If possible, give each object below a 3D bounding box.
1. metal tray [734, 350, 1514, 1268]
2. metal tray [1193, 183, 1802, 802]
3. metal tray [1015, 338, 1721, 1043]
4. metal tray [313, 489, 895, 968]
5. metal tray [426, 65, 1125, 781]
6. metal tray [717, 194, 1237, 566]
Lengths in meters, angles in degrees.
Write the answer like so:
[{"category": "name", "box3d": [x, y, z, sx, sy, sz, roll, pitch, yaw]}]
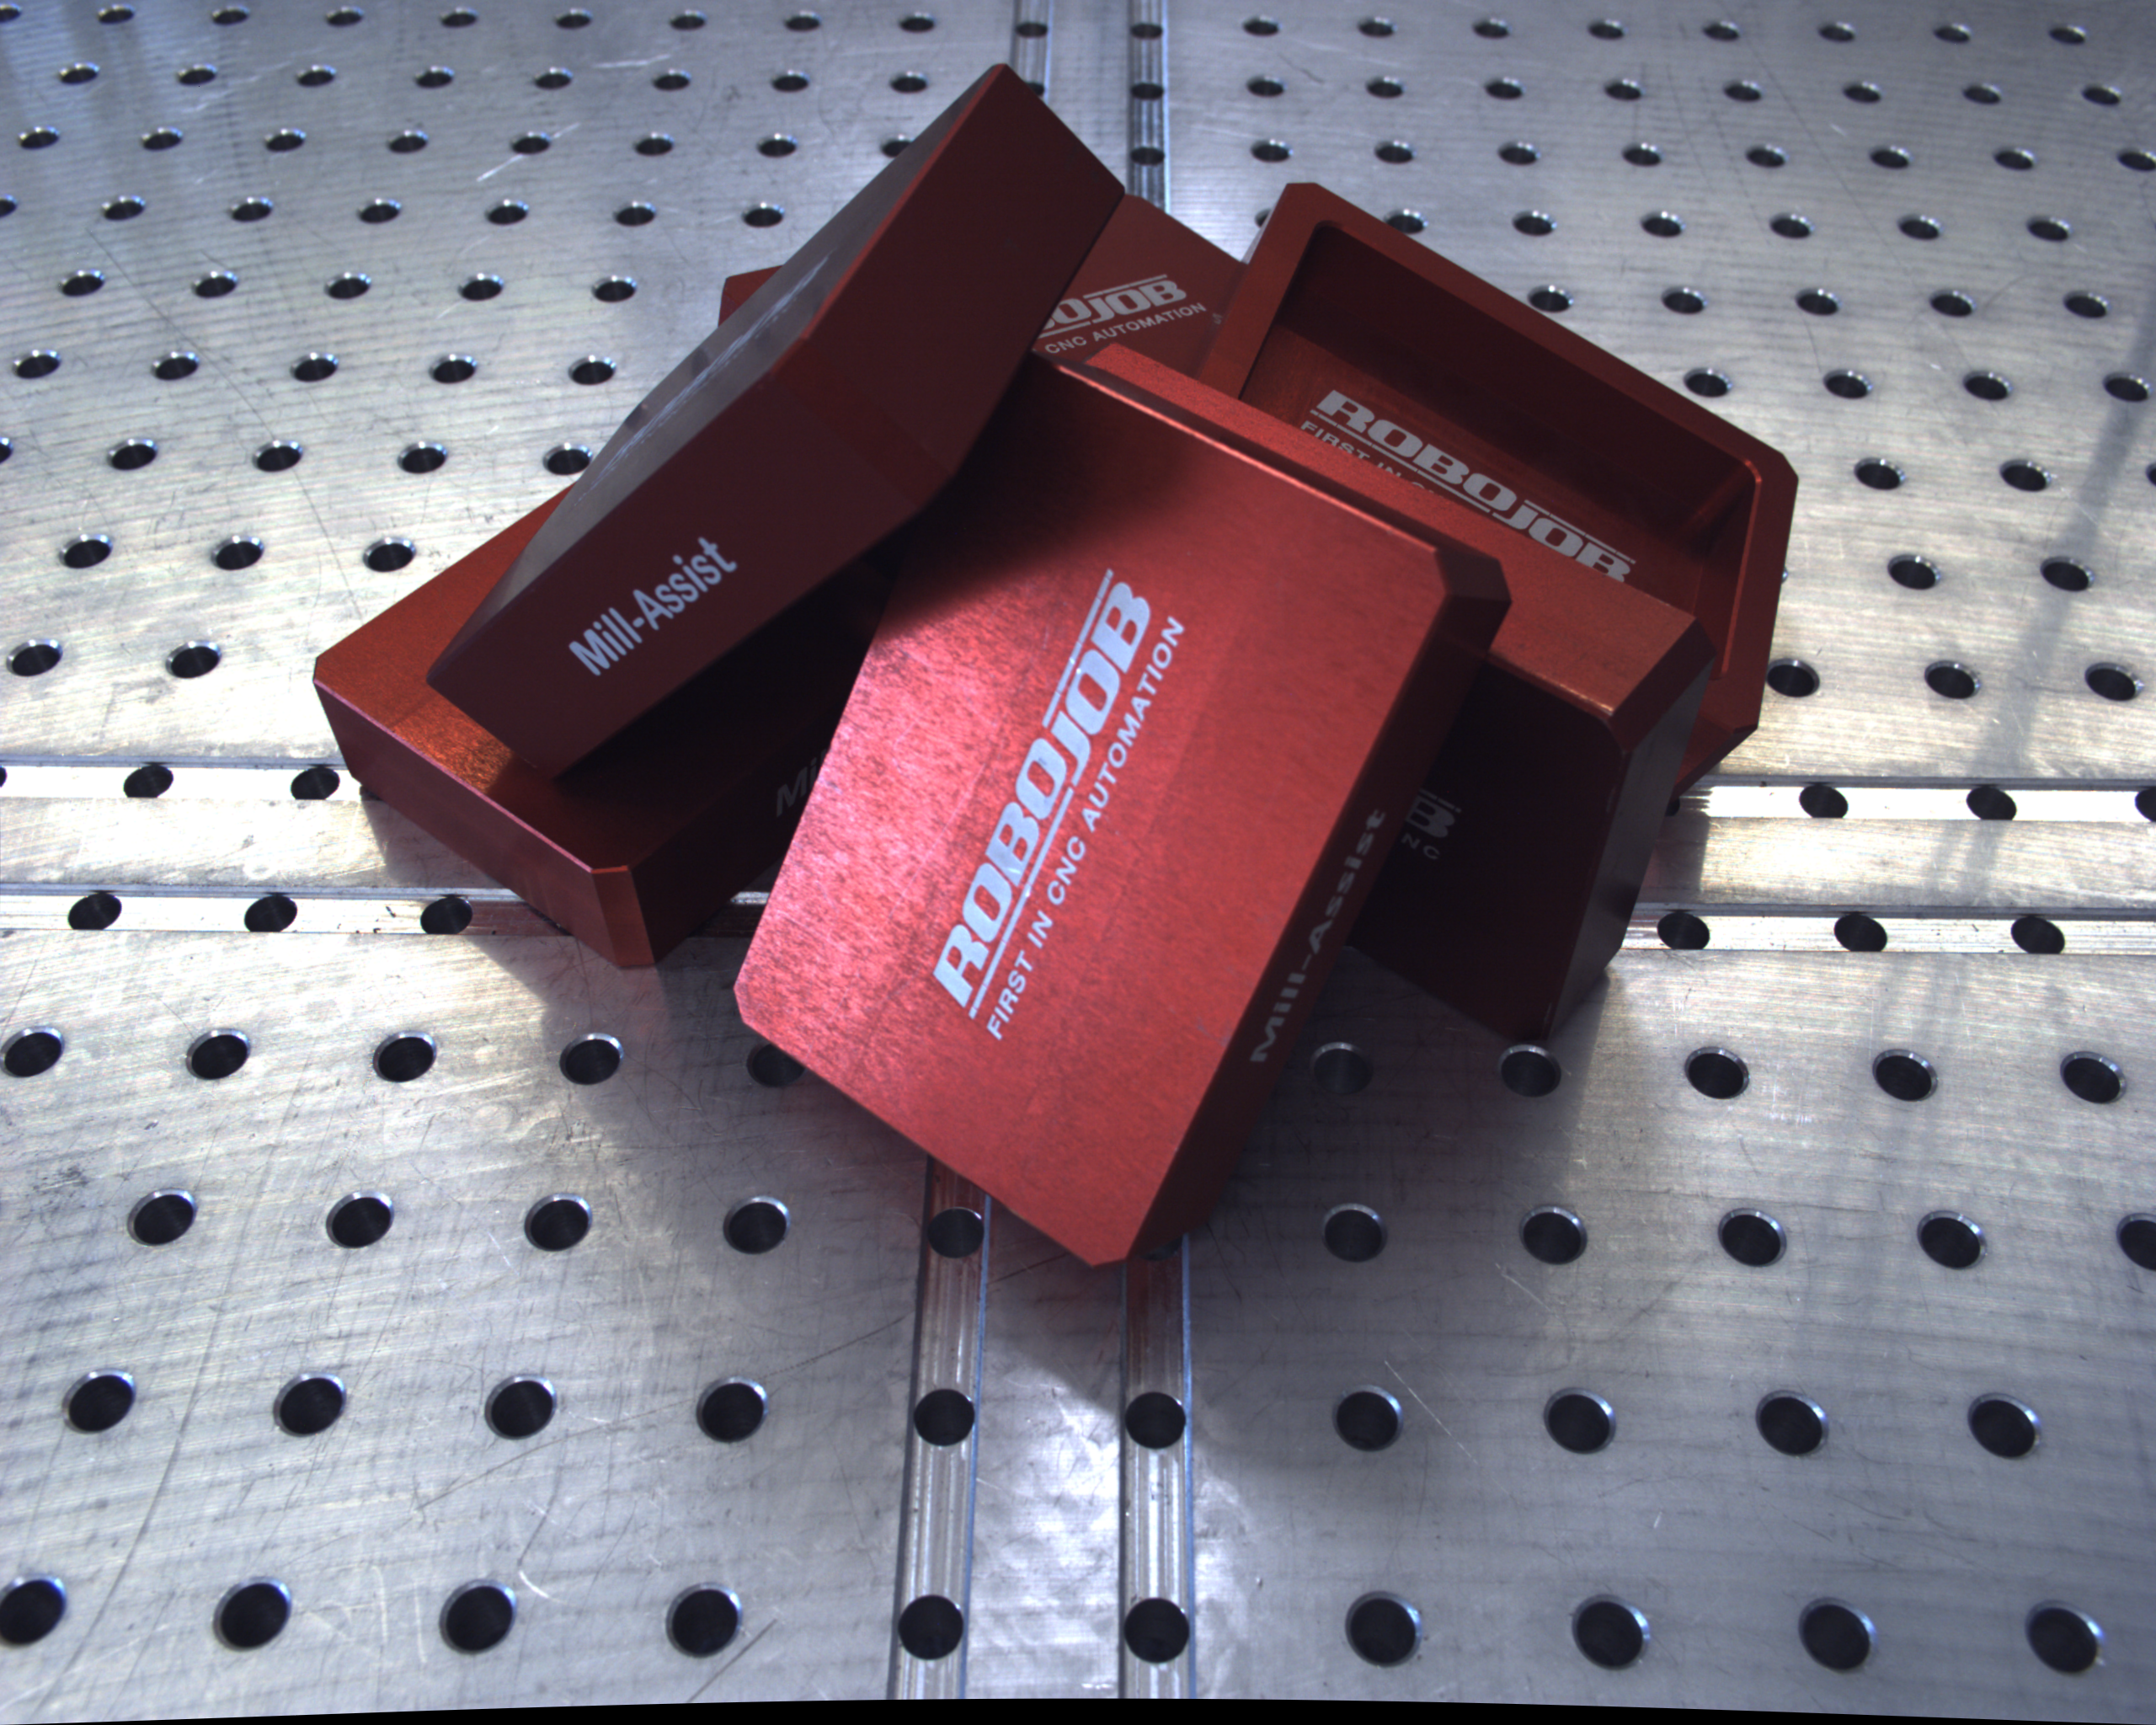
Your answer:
[{"category": "metal tray", "box3d": [0.004, -0.010, 0.354, 0.090, 0.129, 0.030, 31, 18, 24]}, {"category": "metal tray", "box3d": [0.084, -0.079, 0.440, 0.130, 0.030, 0.090, 28, 52, -6]}, {"category": "metal tray", "box3d": [0.045, -0.032, 0.391, 0.130, 0.090, 0.030, 31, 57, 23]}, {"category": "metal tray", "box3d": [-0.080, -0.047, 0.443, 0.090, 0.030, 0.131, 32, 57, 23]}, {"category": "metal tray", "box3d": [-0.056, -0.075, 0.372, 0.030, 0.130, 0.090, 42, 49, -21]}, {"category": "metal tray", "box3d": [-0.005, -0.109, 0.472, 0.131, 0.030, 0.090, -27, 57, -38]}]
